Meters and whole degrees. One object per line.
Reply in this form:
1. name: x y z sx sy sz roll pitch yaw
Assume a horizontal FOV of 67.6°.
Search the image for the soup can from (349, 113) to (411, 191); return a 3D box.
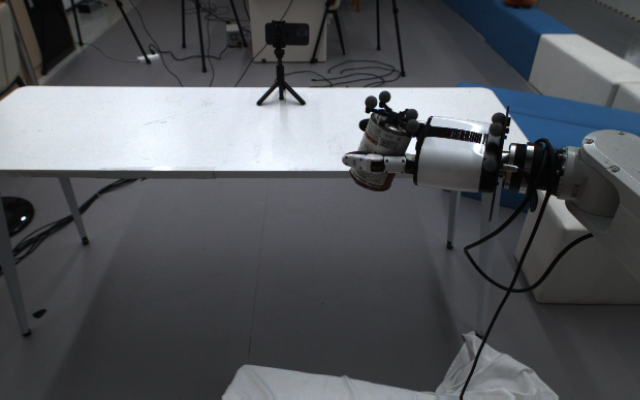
1. soup can: 0.090 -0.073 0.712 0.067 0.101 0.067 13 35 -9
